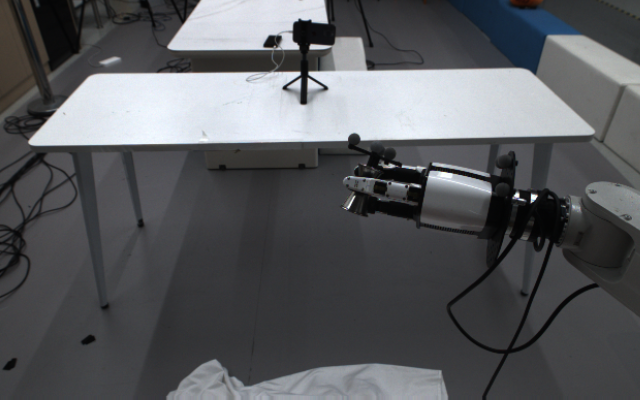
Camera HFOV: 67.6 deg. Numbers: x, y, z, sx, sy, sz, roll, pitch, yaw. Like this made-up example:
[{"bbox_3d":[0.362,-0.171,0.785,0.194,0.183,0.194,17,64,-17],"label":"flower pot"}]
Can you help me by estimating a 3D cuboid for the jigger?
[{"bbox_3d":[0.058,-0.016,0.685,0.043,0.071,0.043,22,6,-2],"label":"jigger"}]
